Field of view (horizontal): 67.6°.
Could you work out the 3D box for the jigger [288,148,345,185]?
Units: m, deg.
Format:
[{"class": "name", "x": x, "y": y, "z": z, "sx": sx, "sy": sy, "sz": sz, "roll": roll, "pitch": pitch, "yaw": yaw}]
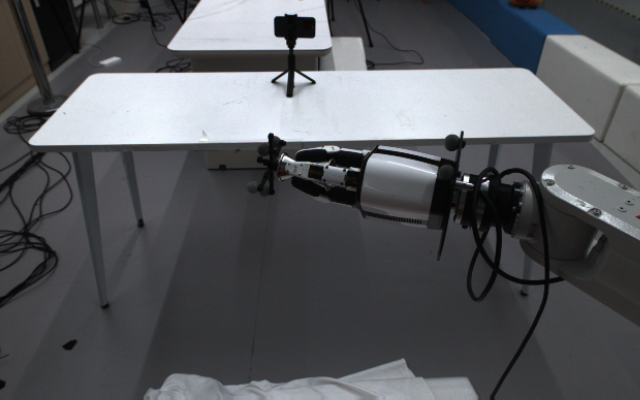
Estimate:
[{"class": "jigger", "x": -0.012, "y": -0.042, "z": 0.636, "sx": 0.071, "sy": 0.043, "sz": 0.043, "roll": 10, "pitch": 35, "yaw": 16}]
